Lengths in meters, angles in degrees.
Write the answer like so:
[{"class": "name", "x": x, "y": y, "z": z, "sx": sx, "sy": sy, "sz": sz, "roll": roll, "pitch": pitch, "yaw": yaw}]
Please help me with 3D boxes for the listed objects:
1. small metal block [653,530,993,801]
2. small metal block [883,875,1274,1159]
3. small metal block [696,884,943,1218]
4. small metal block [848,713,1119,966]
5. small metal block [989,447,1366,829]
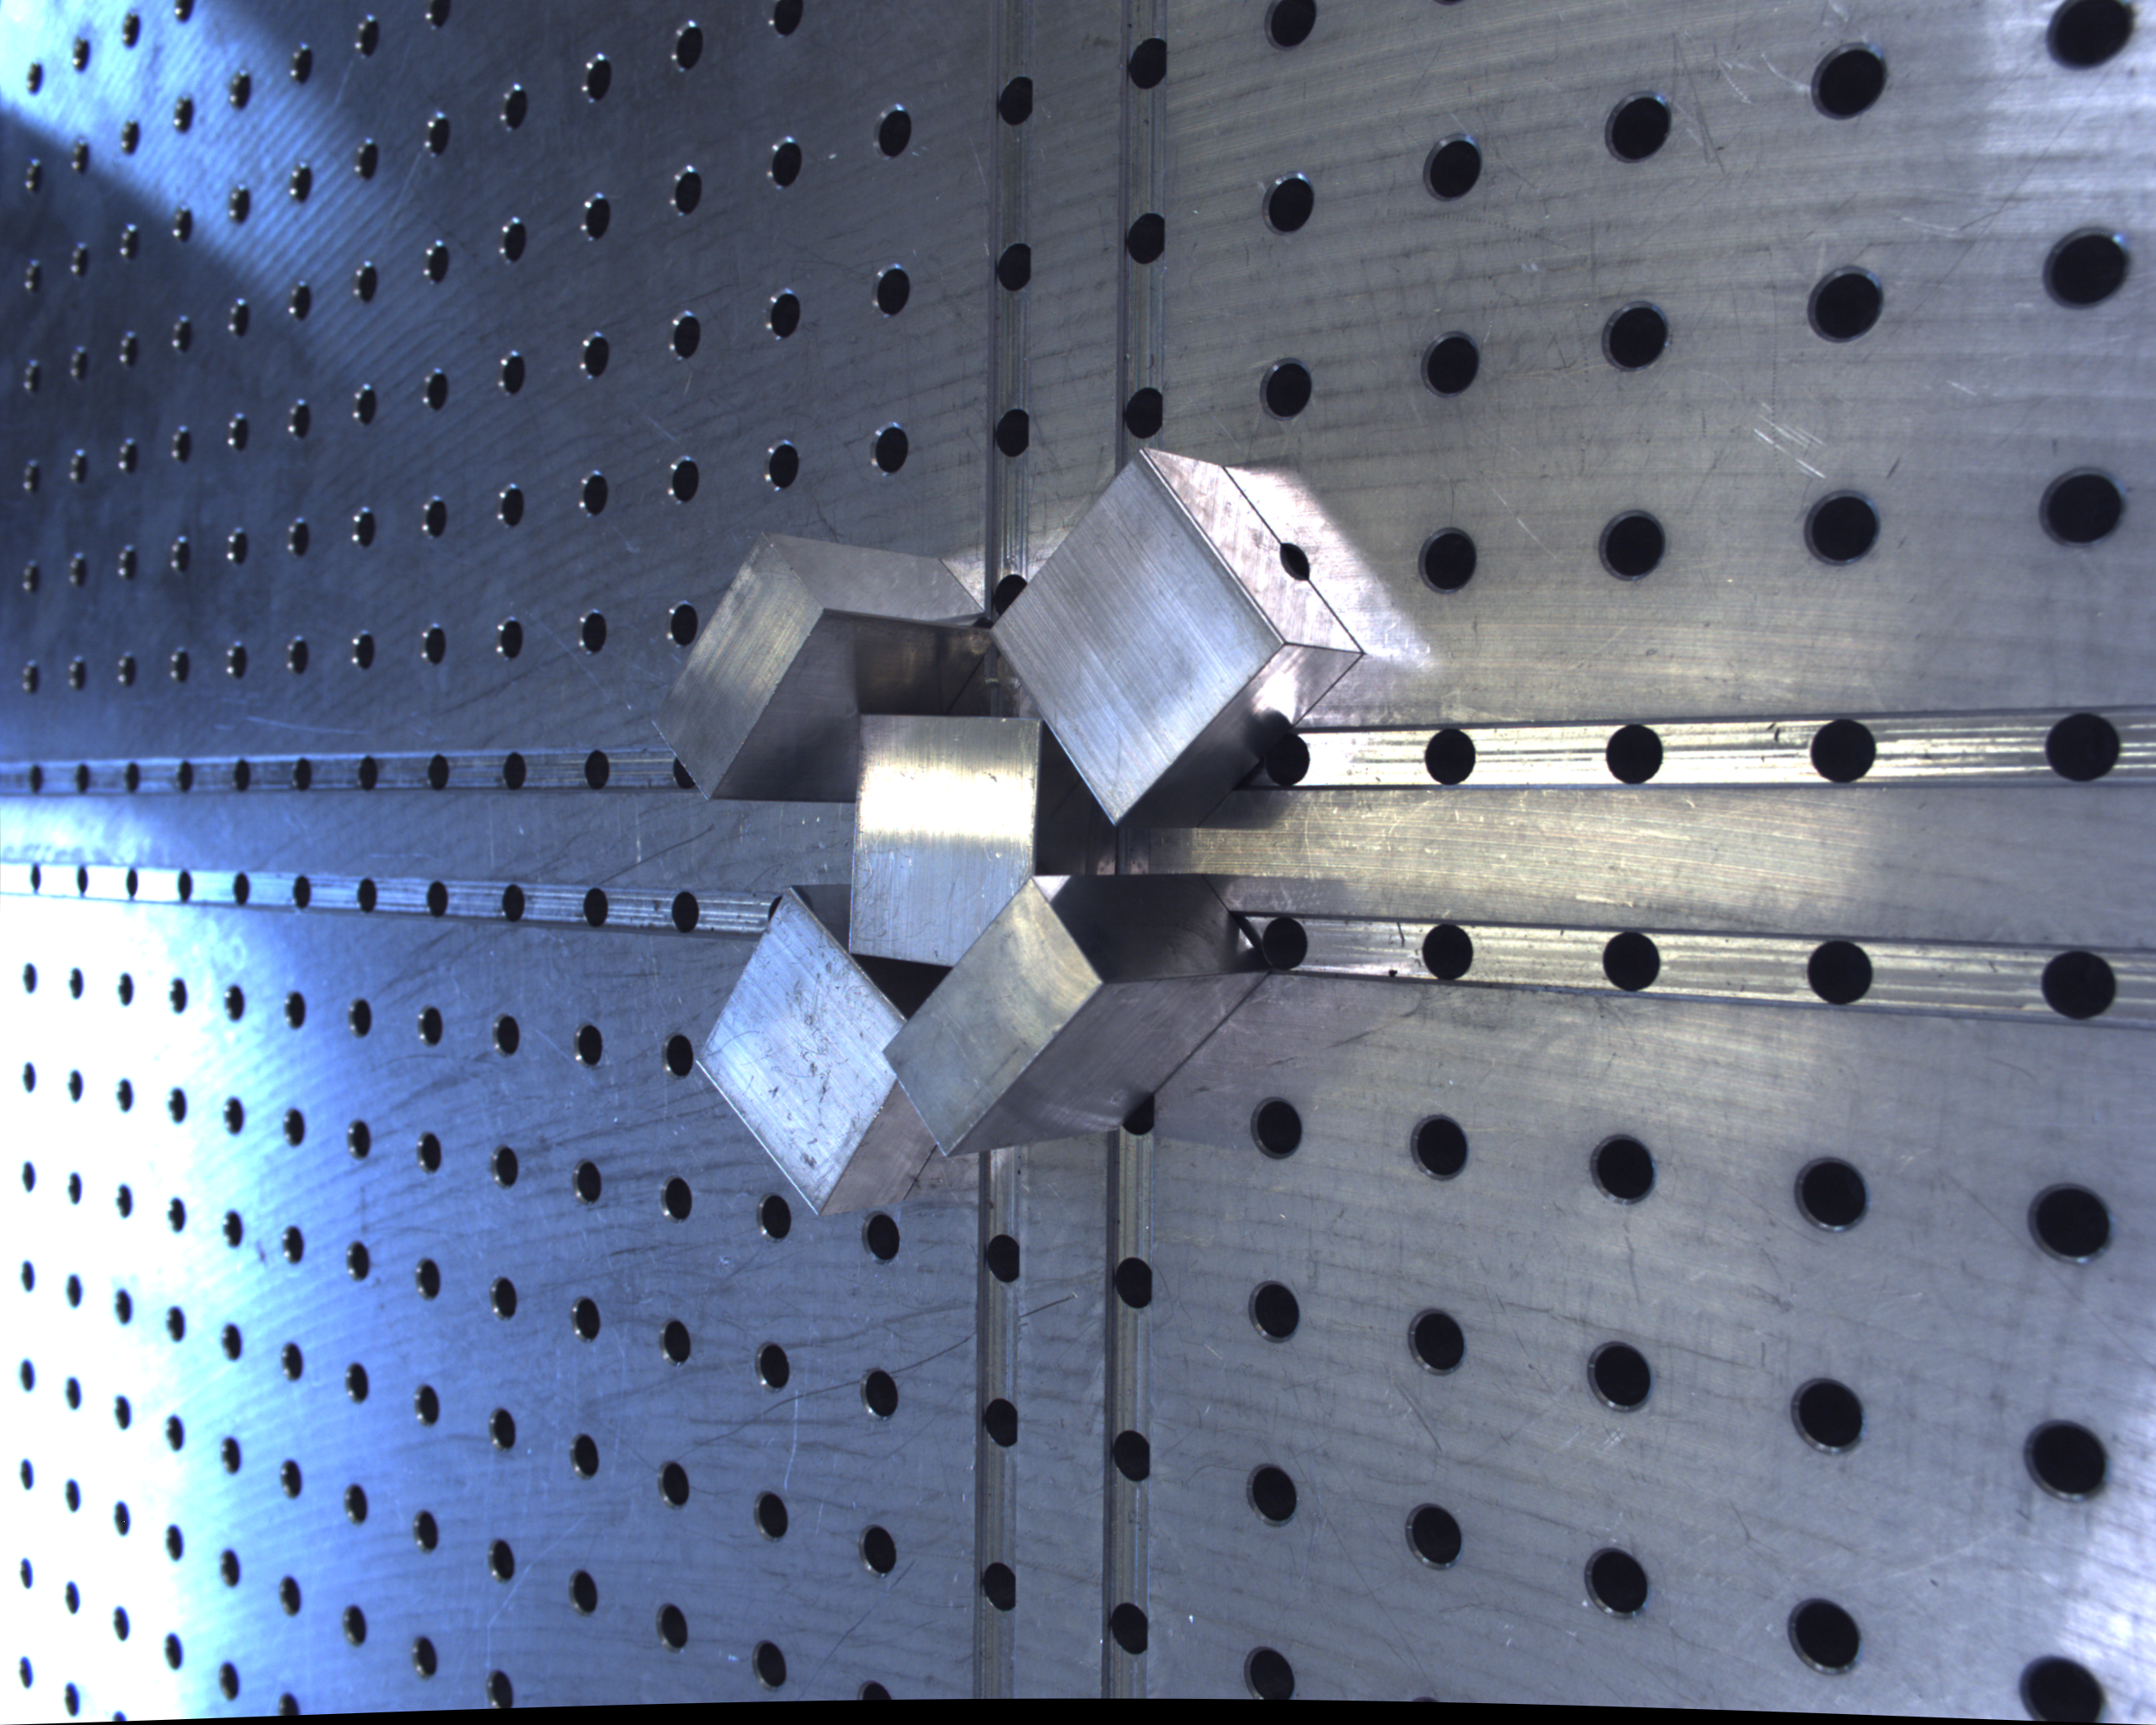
[{"class": "small metal block", "x": -0.052, "y": -0.040, "z": 0.437, "sx": 0.025, "sy": 0.050, "sz": 0.050, "roll": 51, "pitch": 121, "yaw": 27}, {"class": "small metal block", "x": 0.000, "y": 0.028, "z": 0.394, "sx": 0.050, "sy": 0.050, "sz": 0.025, "roll": -50, "pitch": 60, "yaw": 28}, {"class": "small metal block", "x": -0.050, "y": 0.040, "z": 0.451, "sx": 0.050, "sy": 0.025, "sz": 0.050, "roll": 45, "pitch": 117, "yaw": 30}, {"class": "small metal block", "x": -0.019, "y": -0.004, "z": 0.425, "sx": 0.050, "sy": 0.025, "sz": 0.050, "roll": 5, "pitch": 92, "yaw": 41}, {"class": "small metal block", "x": 0.018, "y": -0.041, "z": 0.396, "sx": 0.050, "sy": 0.025, "sz": 0.050, "roll": -48, "pitch": 62, "yaw": 30}]
